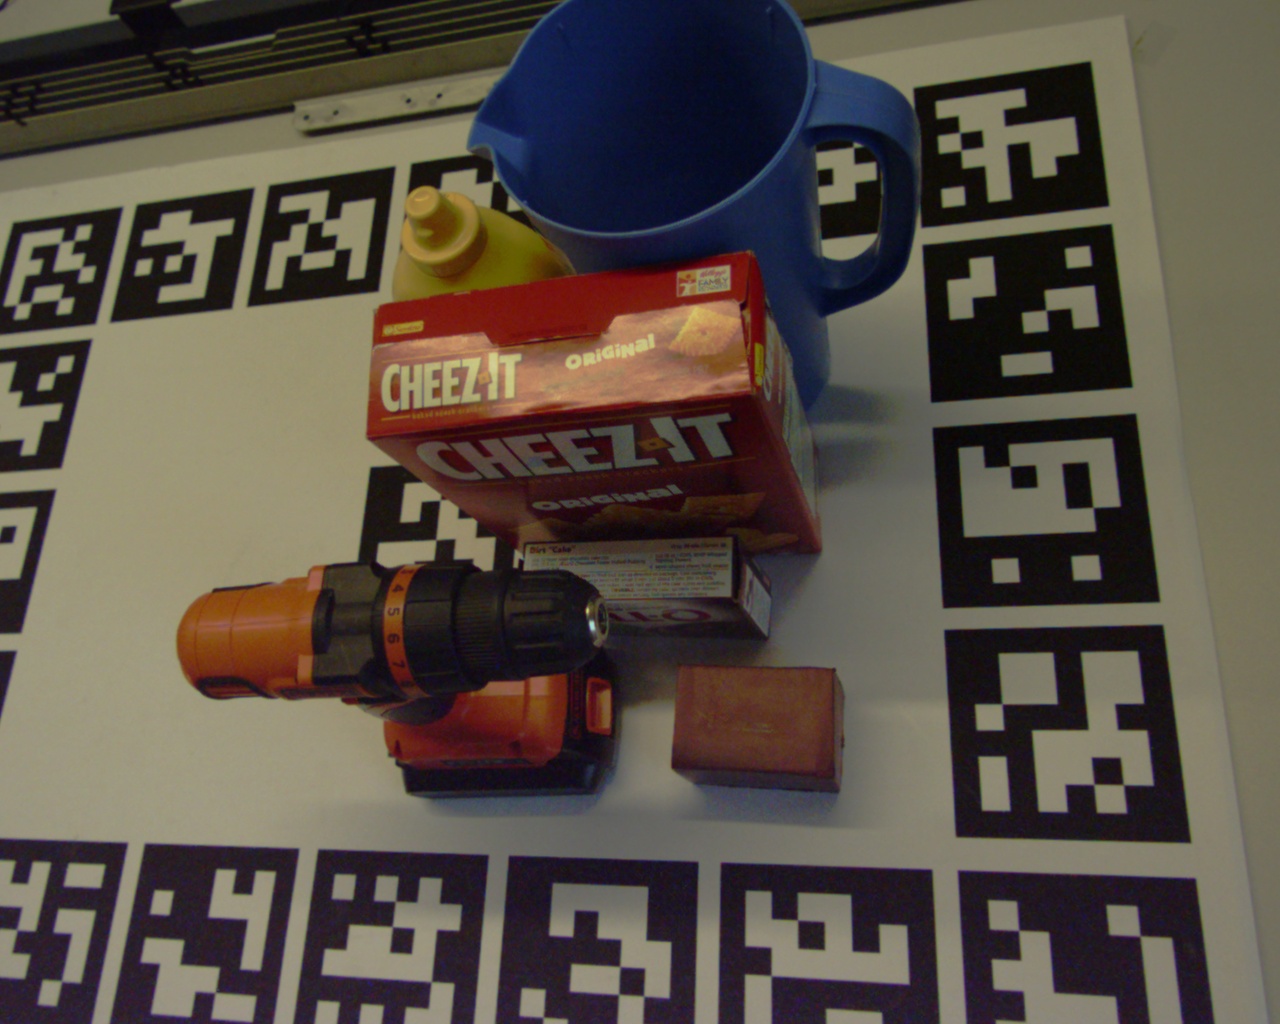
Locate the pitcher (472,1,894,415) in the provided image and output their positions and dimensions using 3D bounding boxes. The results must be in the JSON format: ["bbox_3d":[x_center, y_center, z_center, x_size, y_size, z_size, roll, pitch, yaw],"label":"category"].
[{"bbox_3d":[0.038,-0.129,0.587,0.190,0.240,0.133,2,72,19],"label":"pitcher"}]

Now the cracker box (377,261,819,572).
[{"bbox_3d":[-0.008,-0.028,0.571,0.165,0.211,0.072,-7,68,16],"label":"cracker box"}]

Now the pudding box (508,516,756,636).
[{"bbox_3d":[-0.003,0.036,0.605,0.115,0.089,0.039,-4,69,18],"label":"pudding box"}]

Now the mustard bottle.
[{"bbox_3d":[-0.088,-0.116,0.633,0.097,0.189,0.058,9,75,19],"label":"mustard bottle"}]

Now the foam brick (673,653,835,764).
[{"bbox_3d":[0.060,0.104,0.597,0.078,0.051,0.053,-2,72,16],"label":"foam brick"}]

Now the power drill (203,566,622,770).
[{"bbox_3d":[-0.081,0.076,0.538,0.186,0.185,0.057,-5,66,14],"label":"power drill"}]
